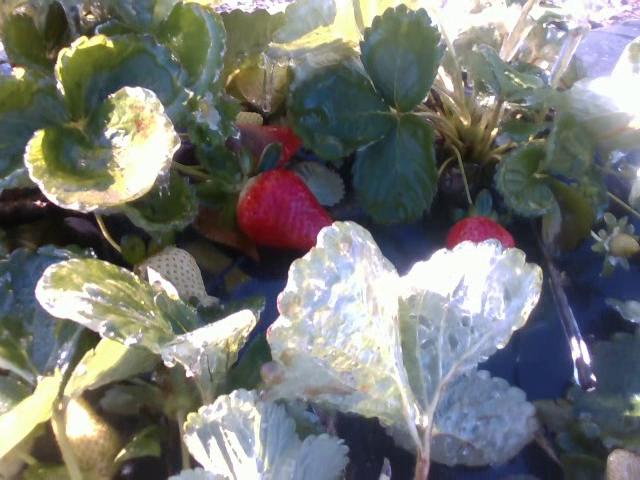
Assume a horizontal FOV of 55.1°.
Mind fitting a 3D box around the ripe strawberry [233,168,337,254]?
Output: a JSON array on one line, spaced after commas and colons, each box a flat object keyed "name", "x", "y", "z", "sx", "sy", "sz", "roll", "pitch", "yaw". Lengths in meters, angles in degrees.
[{"name": "ripe strawberry", "x": -0.012, "y": -0.014, "z": 0.295, "sx": 0.056, "sy": 0.044, "sz": 0.040, "roll": 37, "pitch": -29, "yaw": 2}]

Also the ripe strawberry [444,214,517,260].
[{"name": "ripe strawberry", "x": 0.080, "y": 0.007, "z": 0.298, "sx": 0.039, "sy": 0.047, "sz": 0.040, "roll": 27, "pitch": -40, "yaw": -4}]
